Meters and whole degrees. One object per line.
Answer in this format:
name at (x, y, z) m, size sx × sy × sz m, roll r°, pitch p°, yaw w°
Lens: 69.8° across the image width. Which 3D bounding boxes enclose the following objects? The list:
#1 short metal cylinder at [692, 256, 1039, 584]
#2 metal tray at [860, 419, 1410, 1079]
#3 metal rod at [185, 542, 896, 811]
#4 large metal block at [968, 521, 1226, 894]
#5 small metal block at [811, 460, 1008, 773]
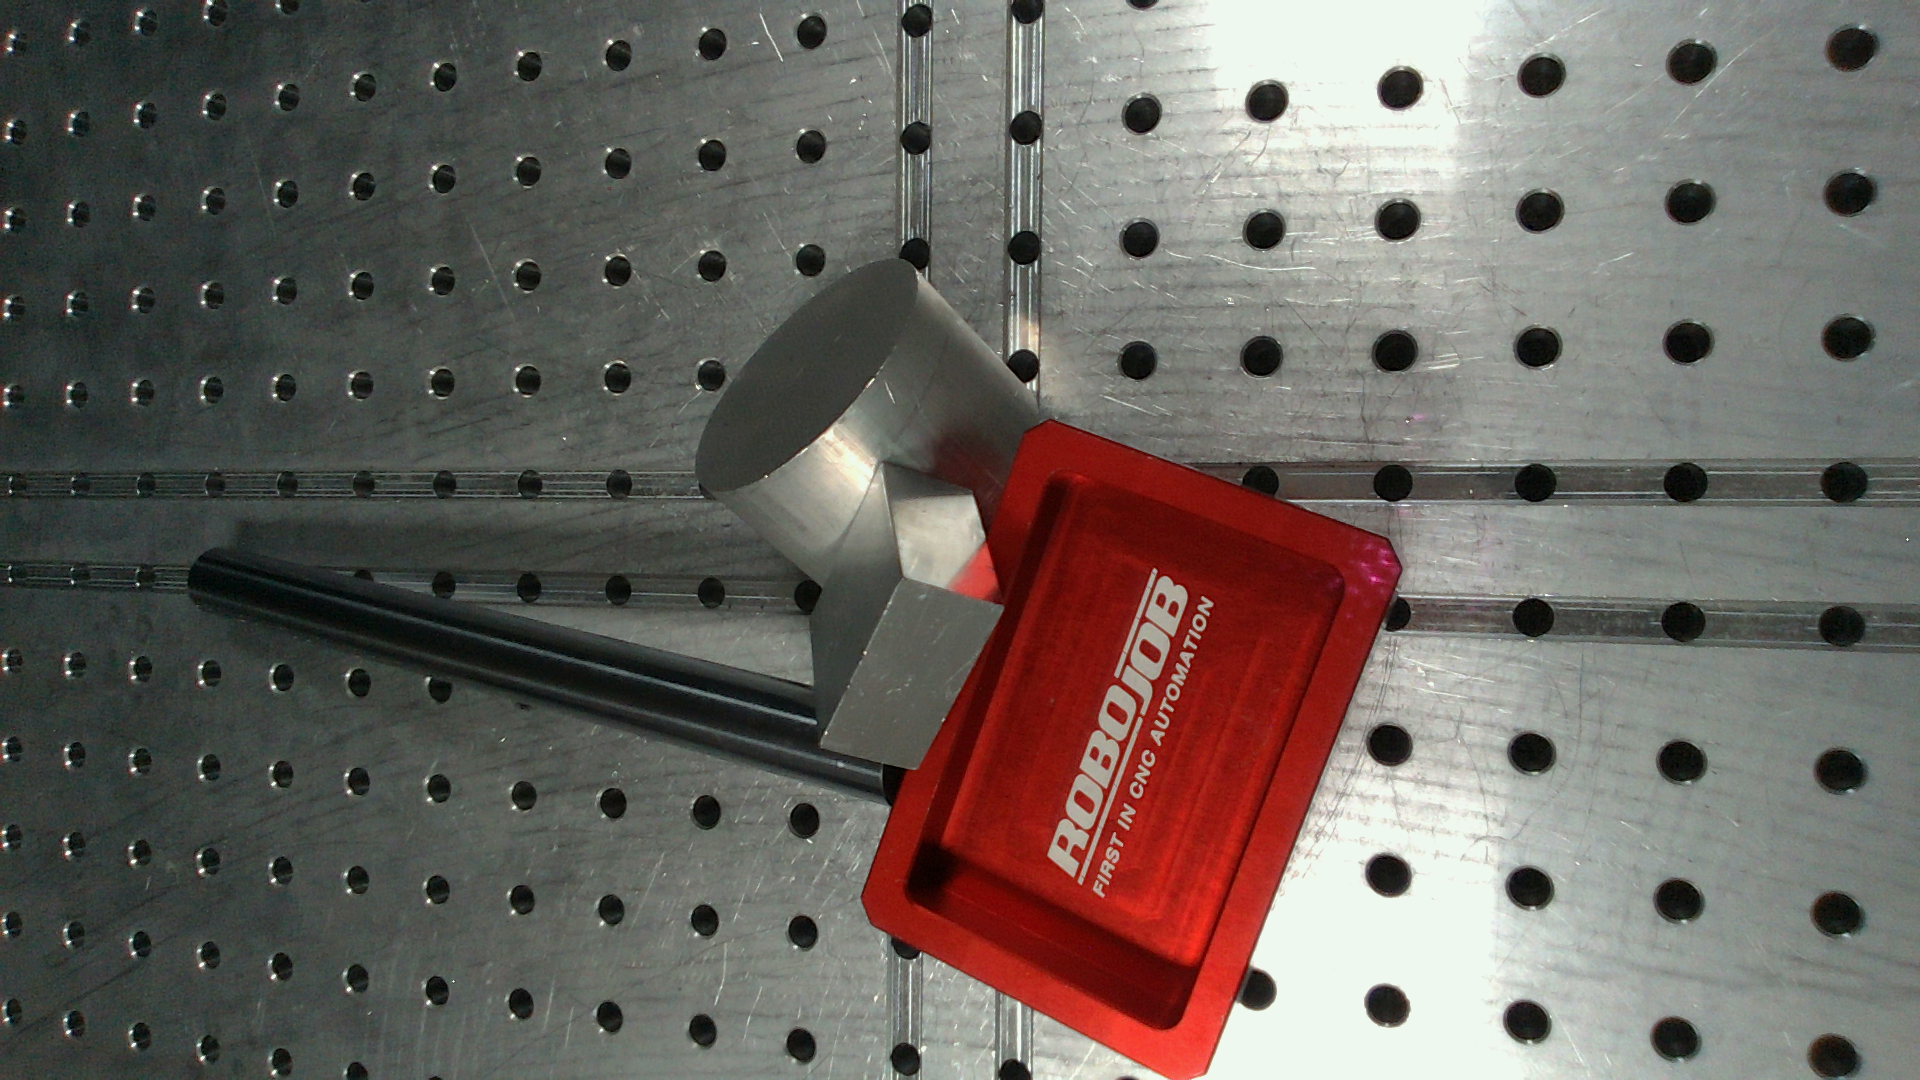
short metal cylinder at (-0.026, -0.030, 0.372) m, size 0.080 × 0.080 × 0.050 m, roll -37°, pitch 121°, yaw 16°
metal tray at (0.040, 0.047, 0.325) m, size 0.090 × 0.030 × 0.130 m, roll 22°, pitch 97°, yaw 19°
metal rod at (-0.140, 0.034, 0.418) m, size 0.299 × 0.025 × 0.025 m, roll 9°, pitch 93°, yaw 31°
large metal block at (0.021, 0.038, 0.376) m, size 0.080 × 0.050 × 0.080 m, roll -37°, pitch 78°, yaw 16°
small metal block at (-0.014, 0.018, 0.326) m, size 0.025 × 0.050 × 0.050 m, roll 17°, pitch 119°, yaw -19°
